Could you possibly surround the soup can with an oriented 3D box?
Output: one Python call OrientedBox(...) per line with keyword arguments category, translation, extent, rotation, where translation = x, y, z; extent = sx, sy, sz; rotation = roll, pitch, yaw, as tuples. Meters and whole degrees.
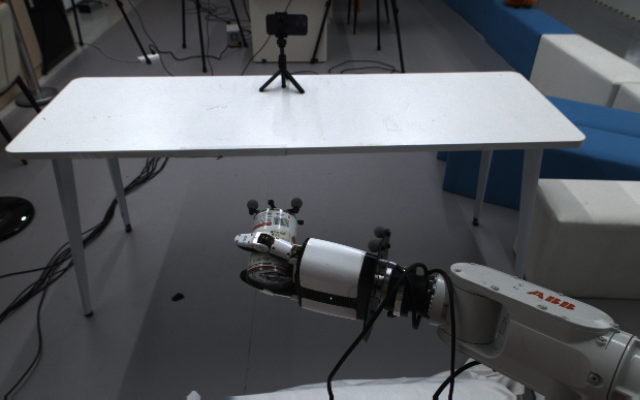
OrientedBox(category="soup can", translation=(-0.069, 0.072, 0.713), extent=(0.067, 0.067, 0.101), rotation=(3, 57, 1))
